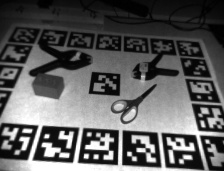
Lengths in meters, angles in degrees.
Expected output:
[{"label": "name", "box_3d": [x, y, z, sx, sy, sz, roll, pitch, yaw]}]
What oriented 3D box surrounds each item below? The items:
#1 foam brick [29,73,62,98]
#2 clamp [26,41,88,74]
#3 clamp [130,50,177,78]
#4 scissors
[{"label": "foam brick", "box_3d": [-0.210, 0.000, 0.685, 0.078, 0.051, 0.052, 7, 52, 7]}, {"label": "clamp", "box_3d": [-0.187, -0.101, 0.776, 0.203, 0.037, 0.164, 2, 48, -5]}, {"label": "clamp", "box_3d": [0.138, -0.070, 0.787, 0.166, 0.036, 0.121, -19, 62, -19]}, {"label": "scissors", "box_3d": [0.069, 0.040, 0.695, 0.087, 0.016, 0.204, 41, 57, 16]}]
